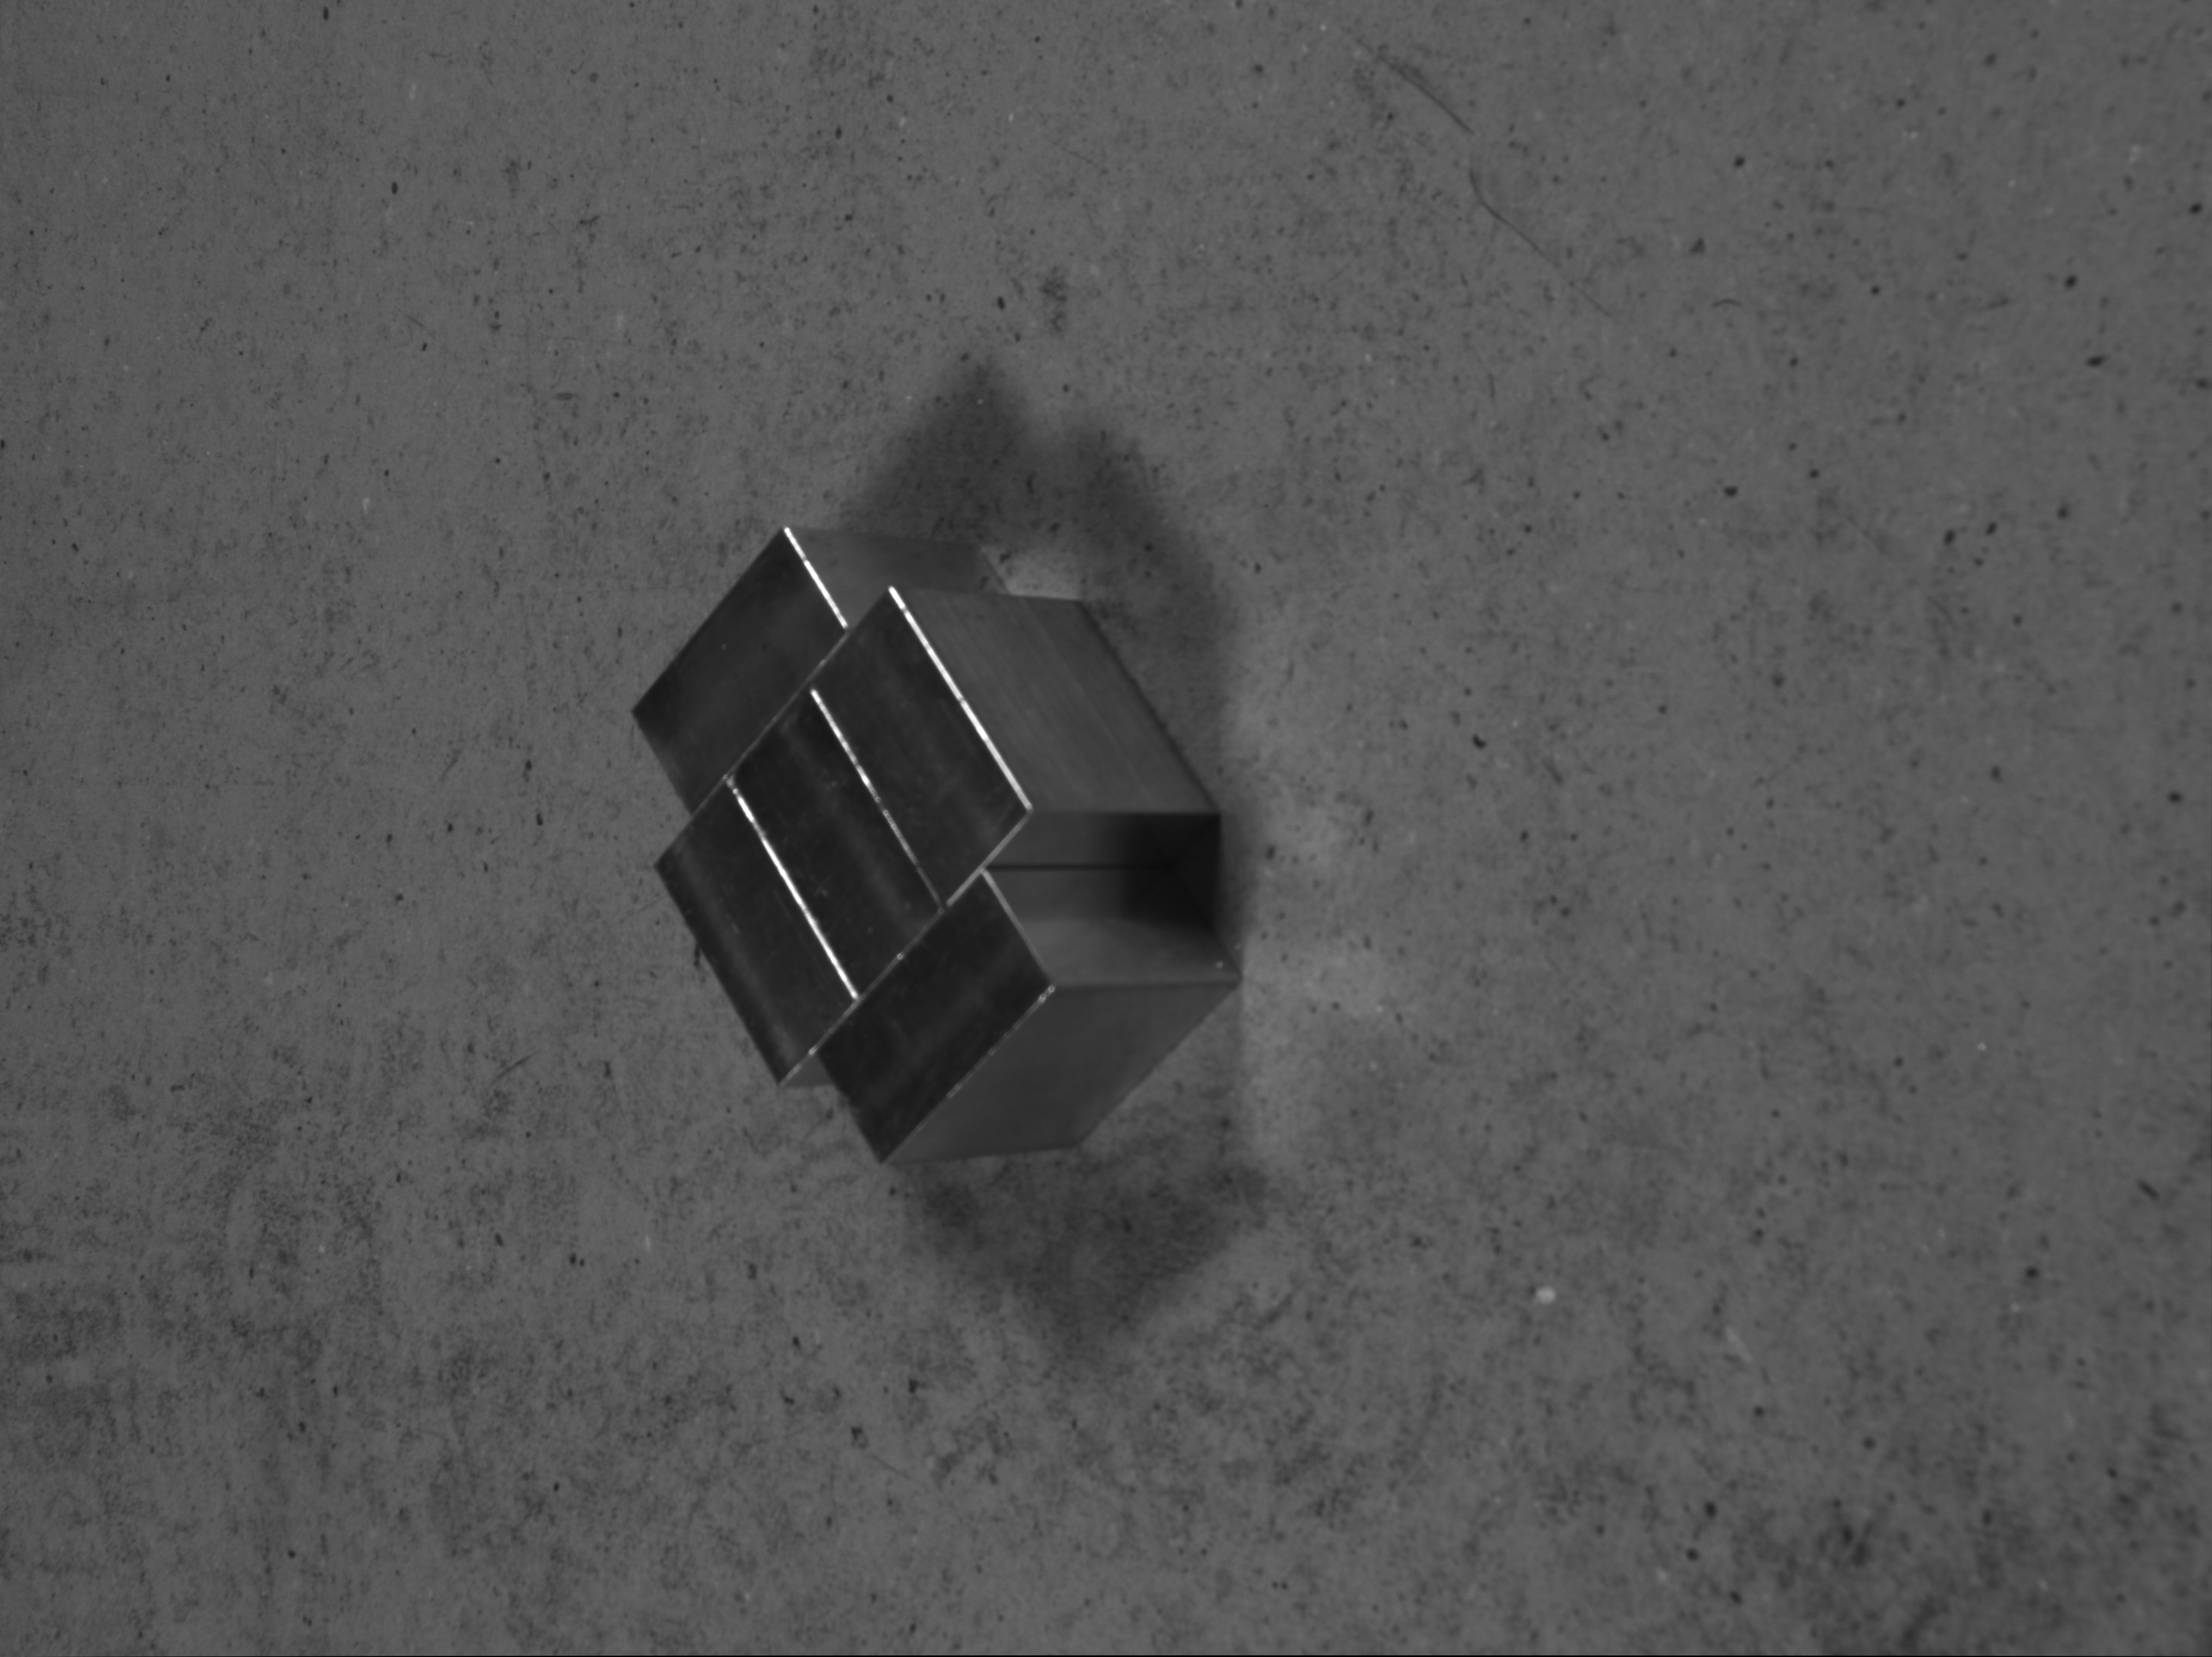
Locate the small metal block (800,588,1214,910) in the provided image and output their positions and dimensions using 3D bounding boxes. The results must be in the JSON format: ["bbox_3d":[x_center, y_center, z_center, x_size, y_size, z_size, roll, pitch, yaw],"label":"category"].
[{"bbox_3d":[-0.017,-0.013,0.634,0.025,0.050,0.050,-48,62,29],"label":"small metal block"}]

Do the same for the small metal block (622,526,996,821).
[{"bbox_3d":[-0.050,-0.027,0.661,0.050,0.050,0.025,-47,62,29],"label":"small metal block"}]

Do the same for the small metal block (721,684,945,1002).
[{"bbox_3d":[-0.032,0.002,0.646,0.025,0.050,0.050,-47,62,29],"label":"small metal block"}]

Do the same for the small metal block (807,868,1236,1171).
[{"bbox_3d":[-0.014,0.032,0.631,0.050,0.050,0.025,-47,62,29],"label":"small metal block"}]

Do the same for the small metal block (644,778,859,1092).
[{"bbox_3d":[-0.047,0.018,0.658,0.025,0.050,0.050,-47,62,29],"label":"small metal block"}]
